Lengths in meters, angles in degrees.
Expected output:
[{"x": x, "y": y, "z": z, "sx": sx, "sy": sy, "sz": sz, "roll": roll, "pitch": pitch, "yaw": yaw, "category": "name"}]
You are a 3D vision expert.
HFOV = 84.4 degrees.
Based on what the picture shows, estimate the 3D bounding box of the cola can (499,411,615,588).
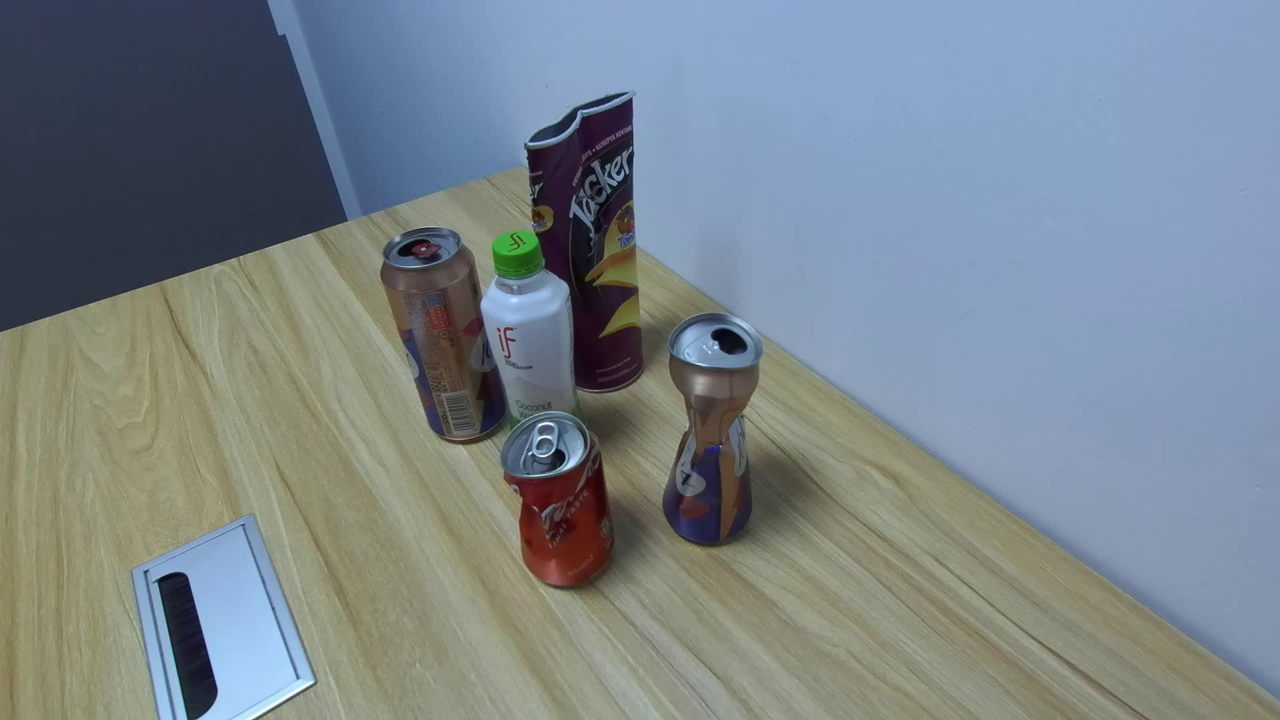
[{"x": -0.052, "y": 0.090, "z": 0.463, "sx": 0.065, "sy": 0.113, "sz": 0.069, "roll": 25, "pitch": 48, "yaw": 31, "category": "cola can"}]

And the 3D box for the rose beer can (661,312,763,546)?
[{"x": 0.046, "y": 0.050, "z": 0.465, "sx": 0.068, "sy": 0.162, "sz": 0.073, "roll": -23, "pitch": 45, "yaw": -24, "category": "rose beer can"}]

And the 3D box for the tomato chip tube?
[{"x": -0.039, "y": -0.081, "z": 0.568, "sx": 0.090, "sy": 0.236, "sz": 0.077, "roll": -8, "pitch": 41, "yaw": -9, "category": "tomato chip tube"}]

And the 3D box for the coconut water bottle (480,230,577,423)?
[{"x": -0.075, "y": -0.002, "z": 0.511, "sx": 0.063, "sy": 0.189, "sz": 0.063, "roll": -2, "pitch": 38, "yaw": 2, "category": "coconut water bottle"}]

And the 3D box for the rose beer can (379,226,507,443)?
[{"x": -0.149, "y": -0.015, "z": 0.551, "sx": 0.068, "sy": 0.169, "sz": 0.068, "roll": -3, "pitch": 38, "yaw": 2, "category": "rose beer can"}]
